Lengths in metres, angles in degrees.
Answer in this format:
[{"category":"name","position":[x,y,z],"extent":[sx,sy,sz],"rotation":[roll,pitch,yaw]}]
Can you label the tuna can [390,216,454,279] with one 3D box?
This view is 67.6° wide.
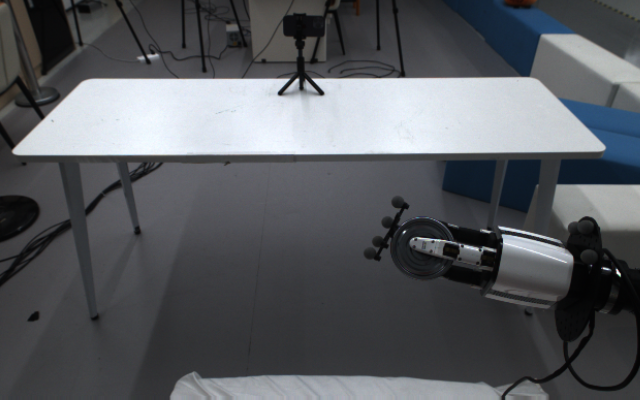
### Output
[{"category":"tuna can","position":[0.140,0.063,0.649],"extent":[0.085,0.085,0.034],"rotation":[9,-5,10]}]
